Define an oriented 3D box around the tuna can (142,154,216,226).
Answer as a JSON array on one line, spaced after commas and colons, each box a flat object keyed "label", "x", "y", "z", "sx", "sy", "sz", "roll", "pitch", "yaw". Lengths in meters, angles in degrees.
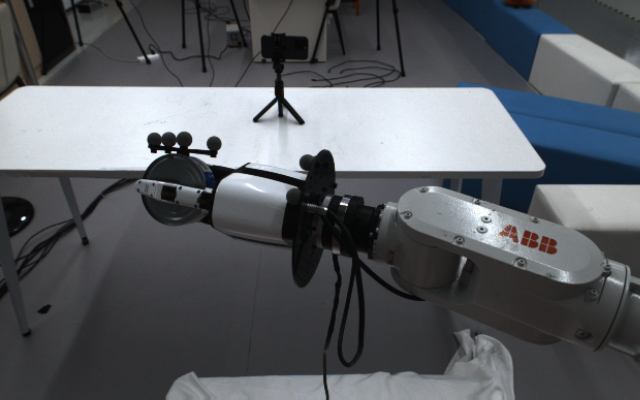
[{"label": "tuna can", "x": -0.169, "y": -0.012, "z": 0.583, "sx": 0.085, "sy": 0.085, "sz": 0.034, "roll": 12, "pitch": 1, "yaw": 14}]
